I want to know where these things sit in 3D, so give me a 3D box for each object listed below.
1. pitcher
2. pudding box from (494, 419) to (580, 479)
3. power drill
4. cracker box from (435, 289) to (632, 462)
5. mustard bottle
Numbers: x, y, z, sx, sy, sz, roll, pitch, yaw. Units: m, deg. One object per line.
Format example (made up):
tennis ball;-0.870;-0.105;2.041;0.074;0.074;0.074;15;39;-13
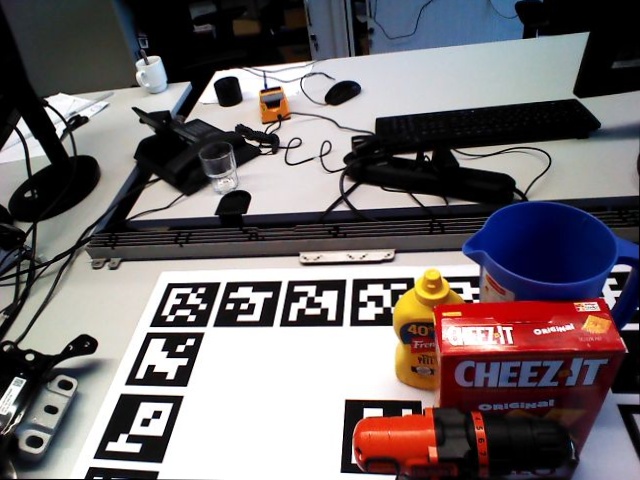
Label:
pitcher;0.269;0.079;0.602;0.190;0.243;0.132;0;43;18
pudding box;0.208;0.226;0.544;0.114;0.090;0.038;-4;41;14
power drill;0.129;0.220;0.467;0.185;0.187;0.057;-3;39;10
cracker box;0.212;0.154;0.542;0.165;0.214;0.071;-6;40;12
mustard bottle;0.140;0.094;0.637;0.097;0.192;0.058;7;46;21
